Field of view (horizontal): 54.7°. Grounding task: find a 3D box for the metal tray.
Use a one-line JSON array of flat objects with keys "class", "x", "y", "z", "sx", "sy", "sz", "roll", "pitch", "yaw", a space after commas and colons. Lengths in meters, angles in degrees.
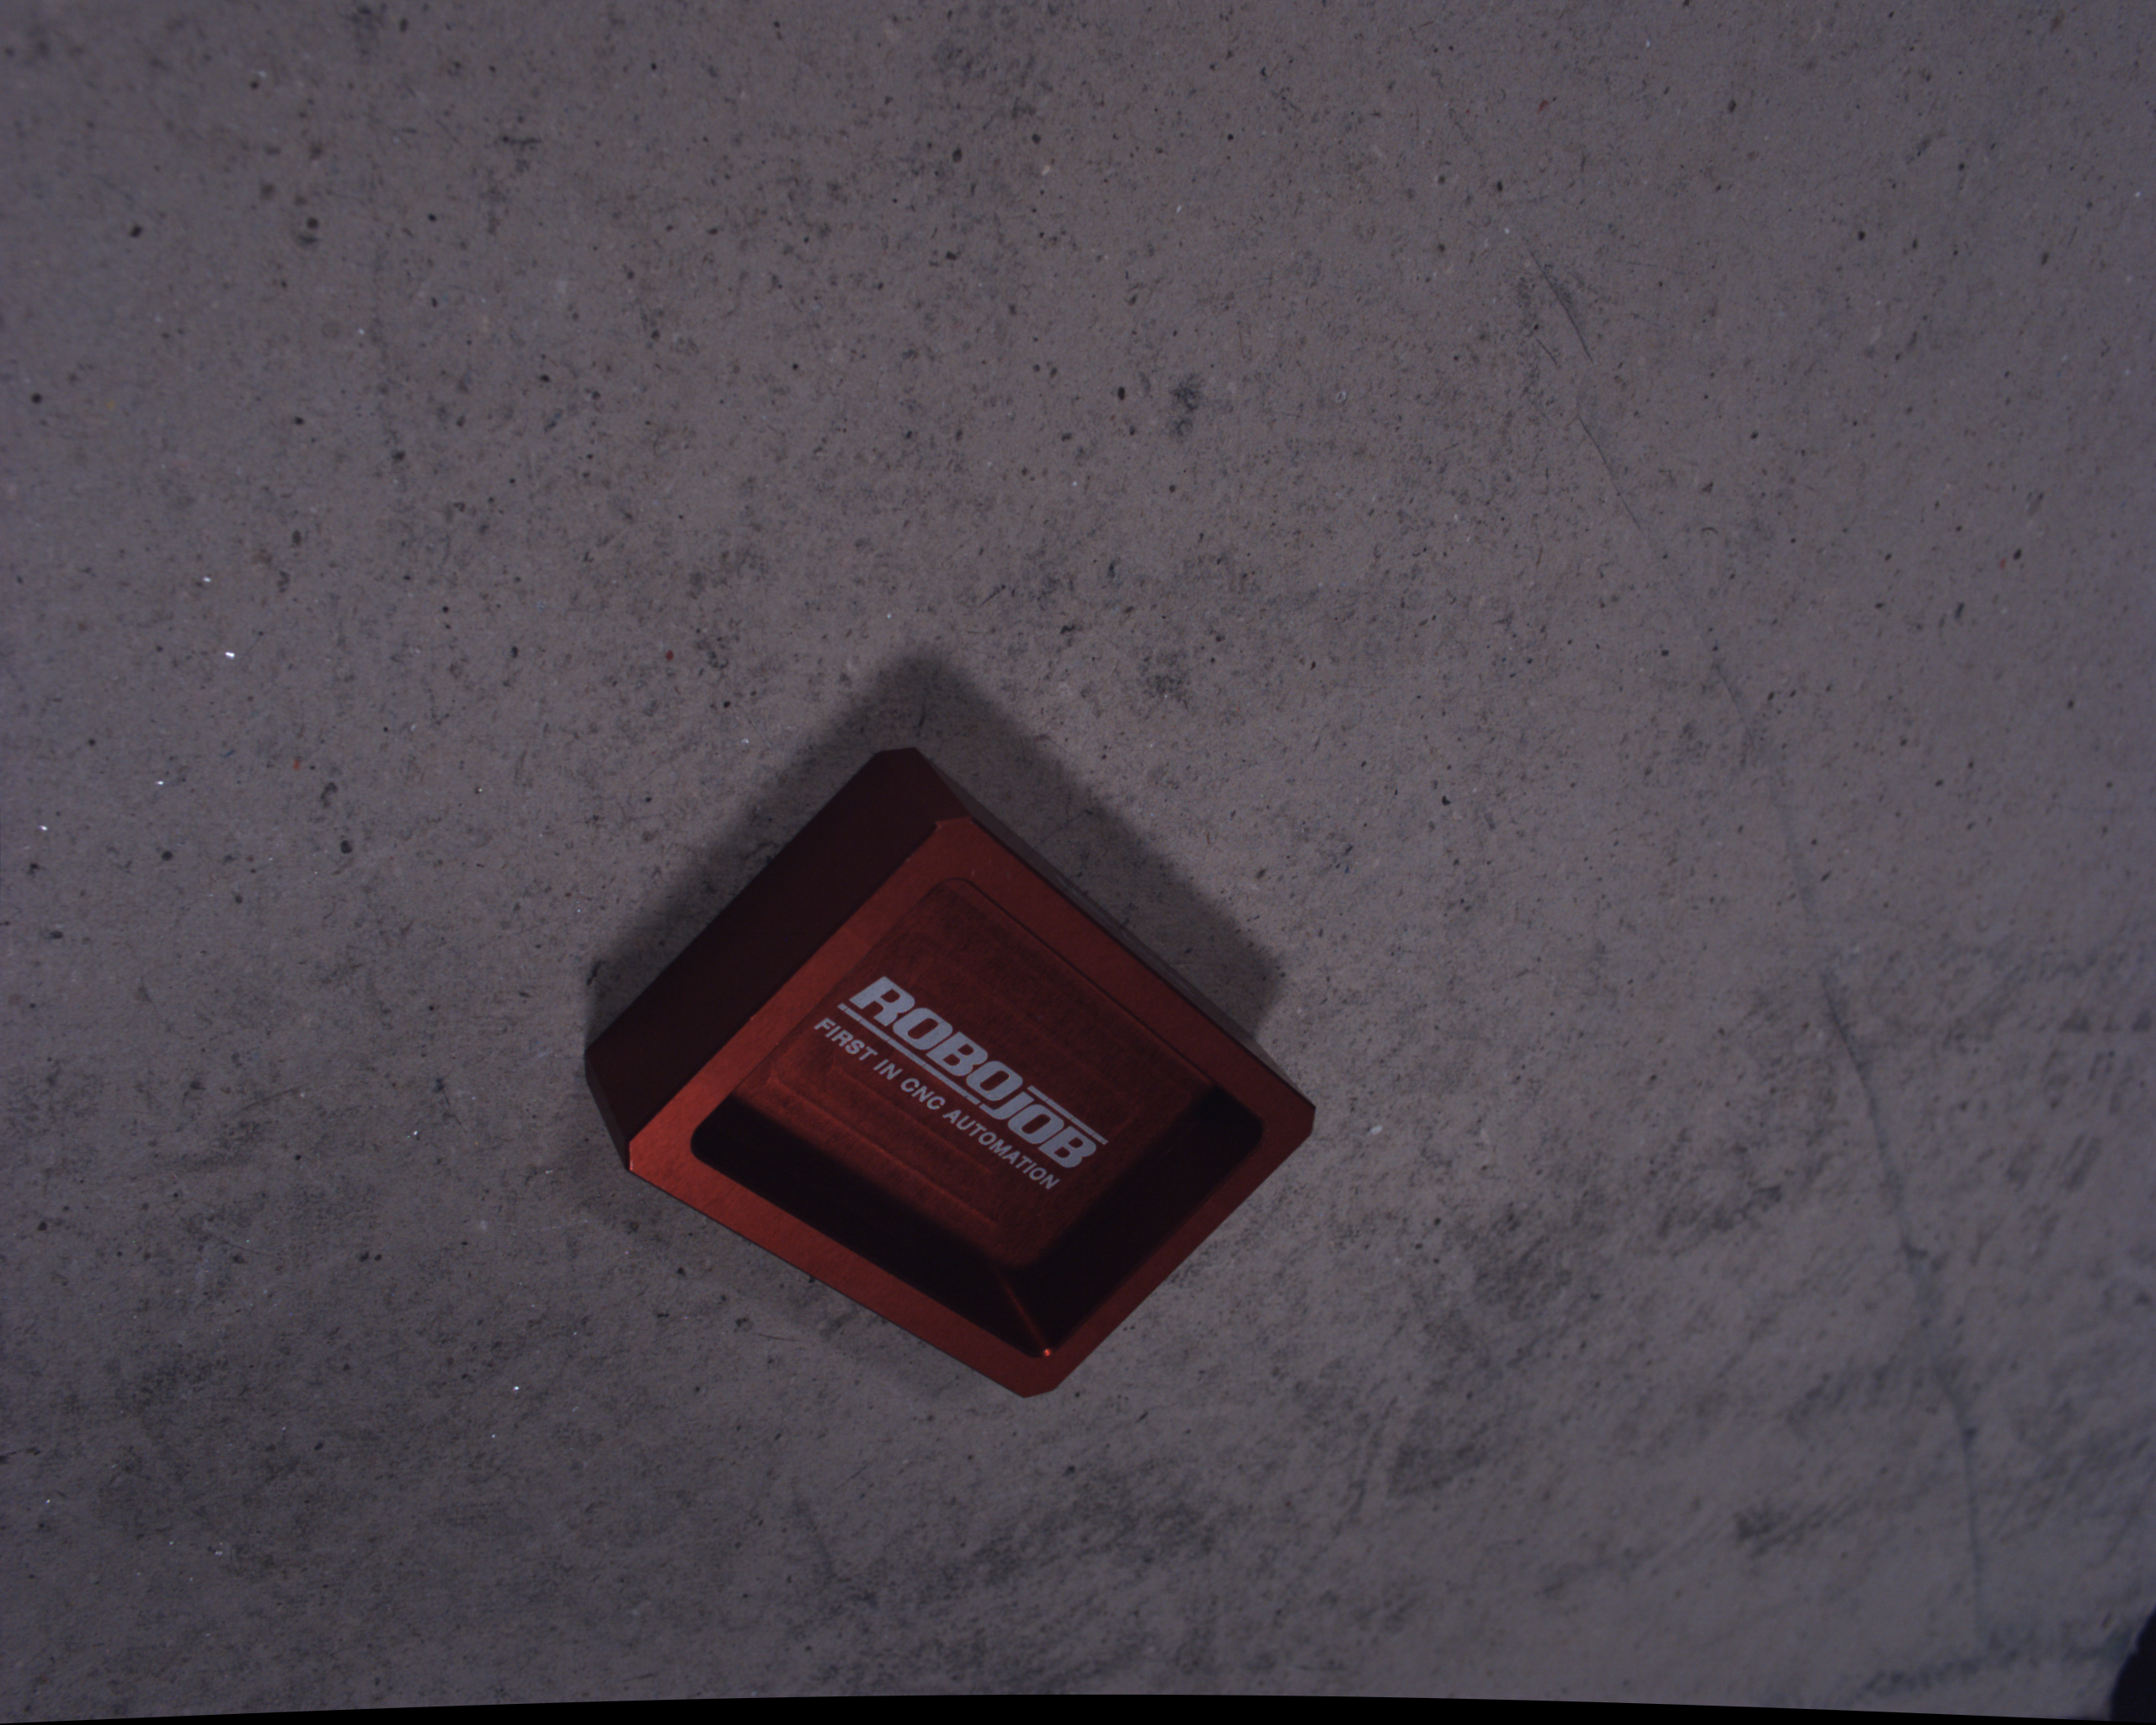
[{"class": "metal tray", "x": -0.022, "y": 0.047, "z": 0.424, "sx": 0.090, "sy": 0.030, "sz": 0.130, "roll": -46, "pitch": 130, "yaw": 3}]
